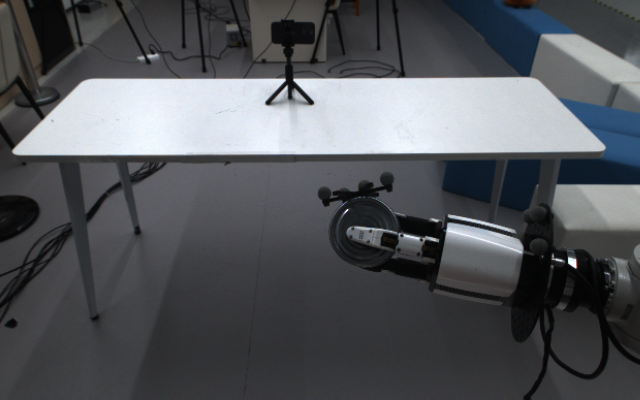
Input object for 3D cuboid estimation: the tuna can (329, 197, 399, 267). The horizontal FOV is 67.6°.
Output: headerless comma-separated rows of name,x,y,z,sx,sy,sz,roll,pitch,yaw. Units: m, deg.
tuna can,0.057,0.037,0.588,0.085,0.085,0.034,12,-6,14
